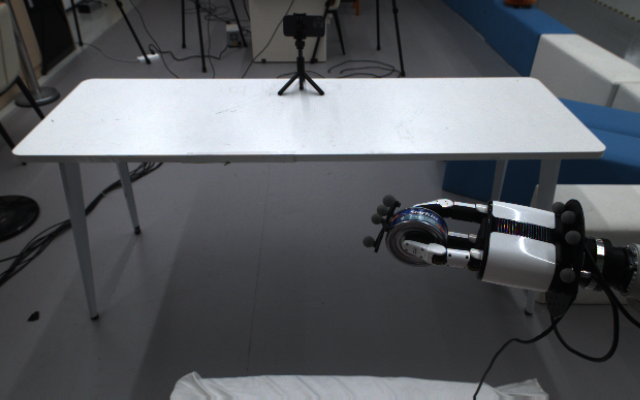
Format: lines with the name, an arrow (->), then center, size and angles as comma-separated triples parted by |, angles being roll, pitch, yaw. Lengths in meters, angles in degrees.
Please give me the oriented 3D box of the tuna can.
tuna can -> 0.139, 0.051, 0.686 | 0.085, 0.085, 0.034 | 9, 35, 10
